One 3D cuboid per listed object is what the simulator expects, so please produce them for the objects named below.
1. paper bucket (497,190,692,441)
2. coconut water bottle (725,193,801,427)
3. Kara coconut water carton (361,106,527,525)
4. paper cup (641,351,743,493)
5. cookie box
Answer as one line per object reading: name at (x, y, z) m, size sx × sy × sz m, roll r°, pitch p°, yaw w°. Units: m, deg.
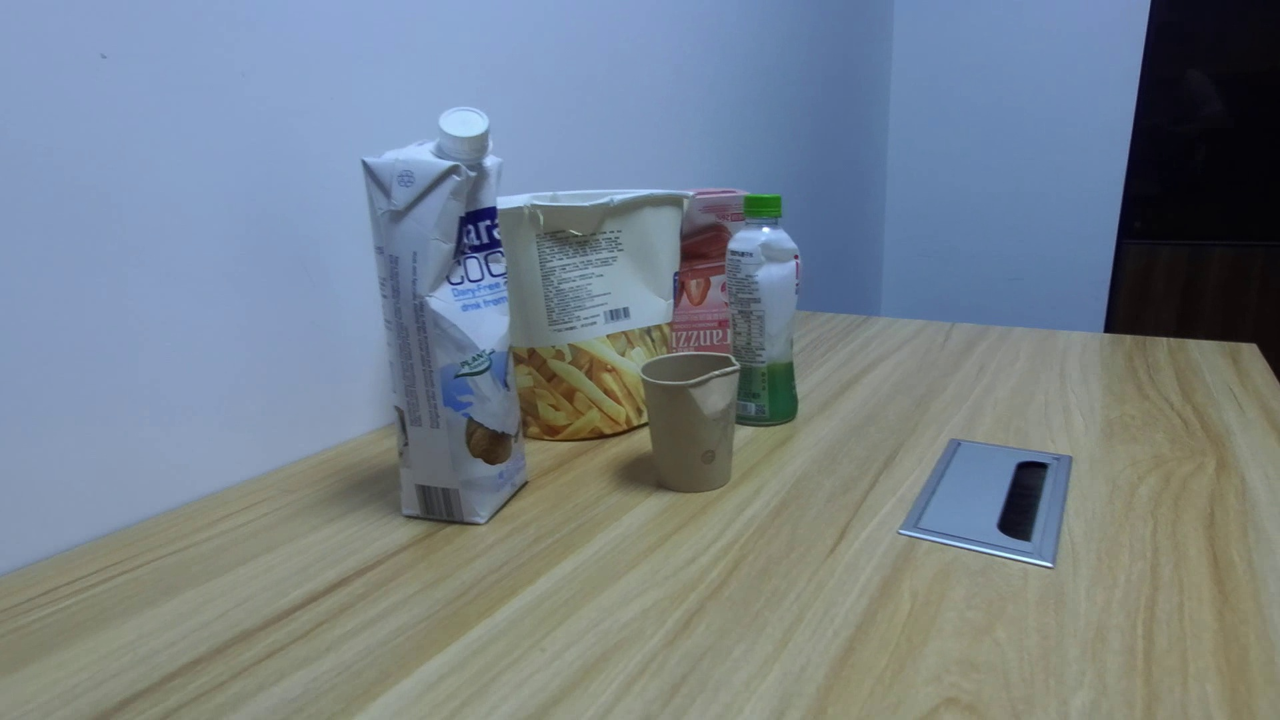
paper bucket at (-0.060, -0.046, 0.620) m, size 0.145 × 0.197 × 0.203 m, roll 10°, pitch 20°, yaw 43°
coconut water bottle at (0.104, -0.042, 0.591) m, size 0.069 × 0.186 × 0.069 m, roll 0°, pitch 13°, yaw 0°
Kara coconut water carton at (-0.123, -0.025, 0.456) m, size 0.078 × 0.255 × 0.083 m, roll 8°, pitch 19°, yaw 29°
paper cup at (0.035, 0.043, 0.492) m, size 0.069 × 0.081 × 0.073 m, roll -4°, pitch 17°, yaw -2°
cookie box at (0.061, -0.081, 0.742) m, size 0.105 × 0.187 × 0.048 m, roll -4°, pitch 14°, yaw -8°
